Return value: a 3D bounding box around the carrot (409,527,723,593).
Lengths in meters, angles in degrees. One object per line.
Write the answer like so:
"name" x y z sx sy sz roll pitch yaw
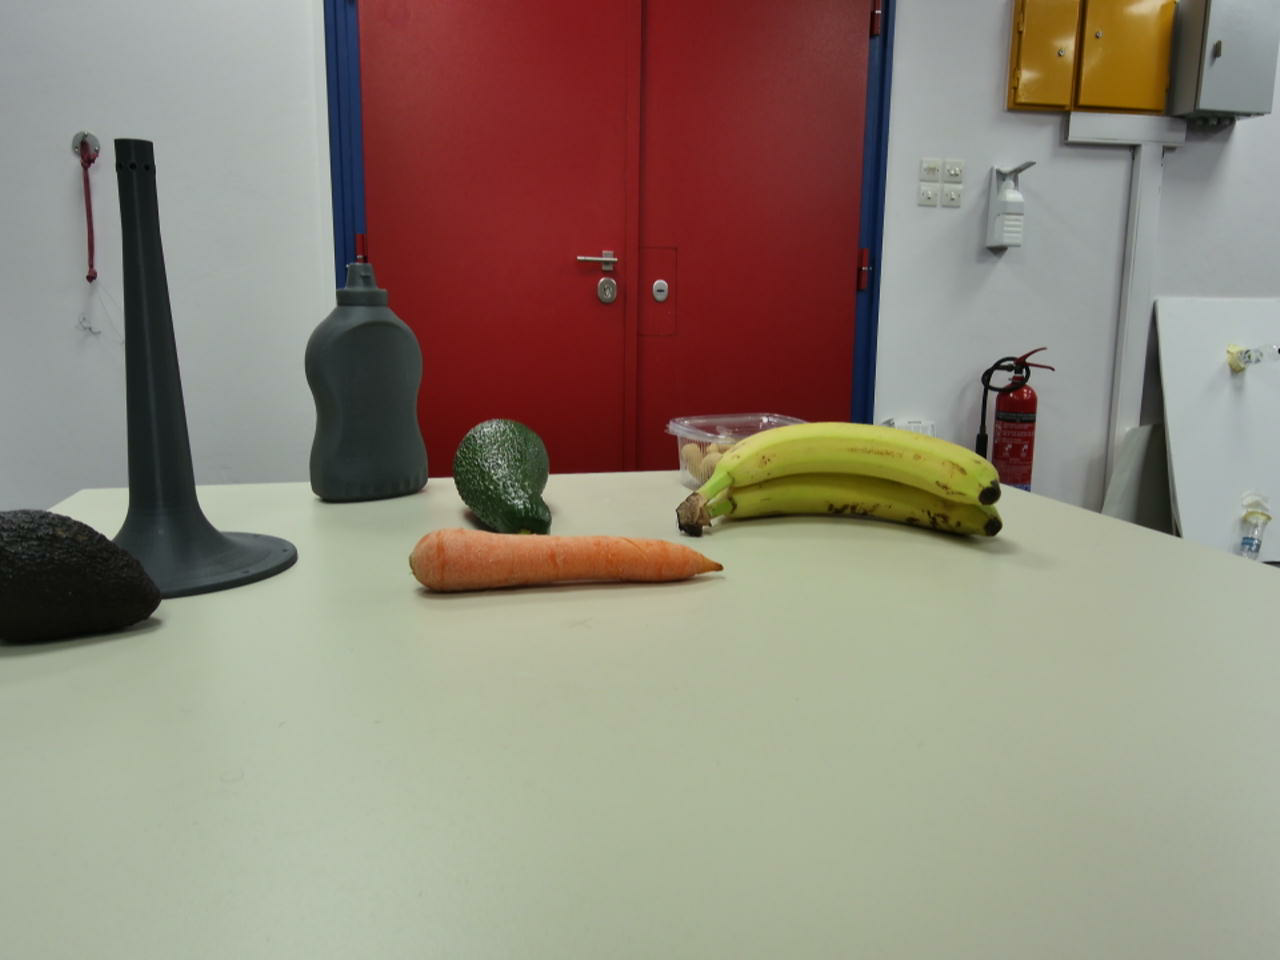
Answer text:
"carrot" -0.043 0.047 0.624 0.196 0.041 0.039 -2 8 -12
